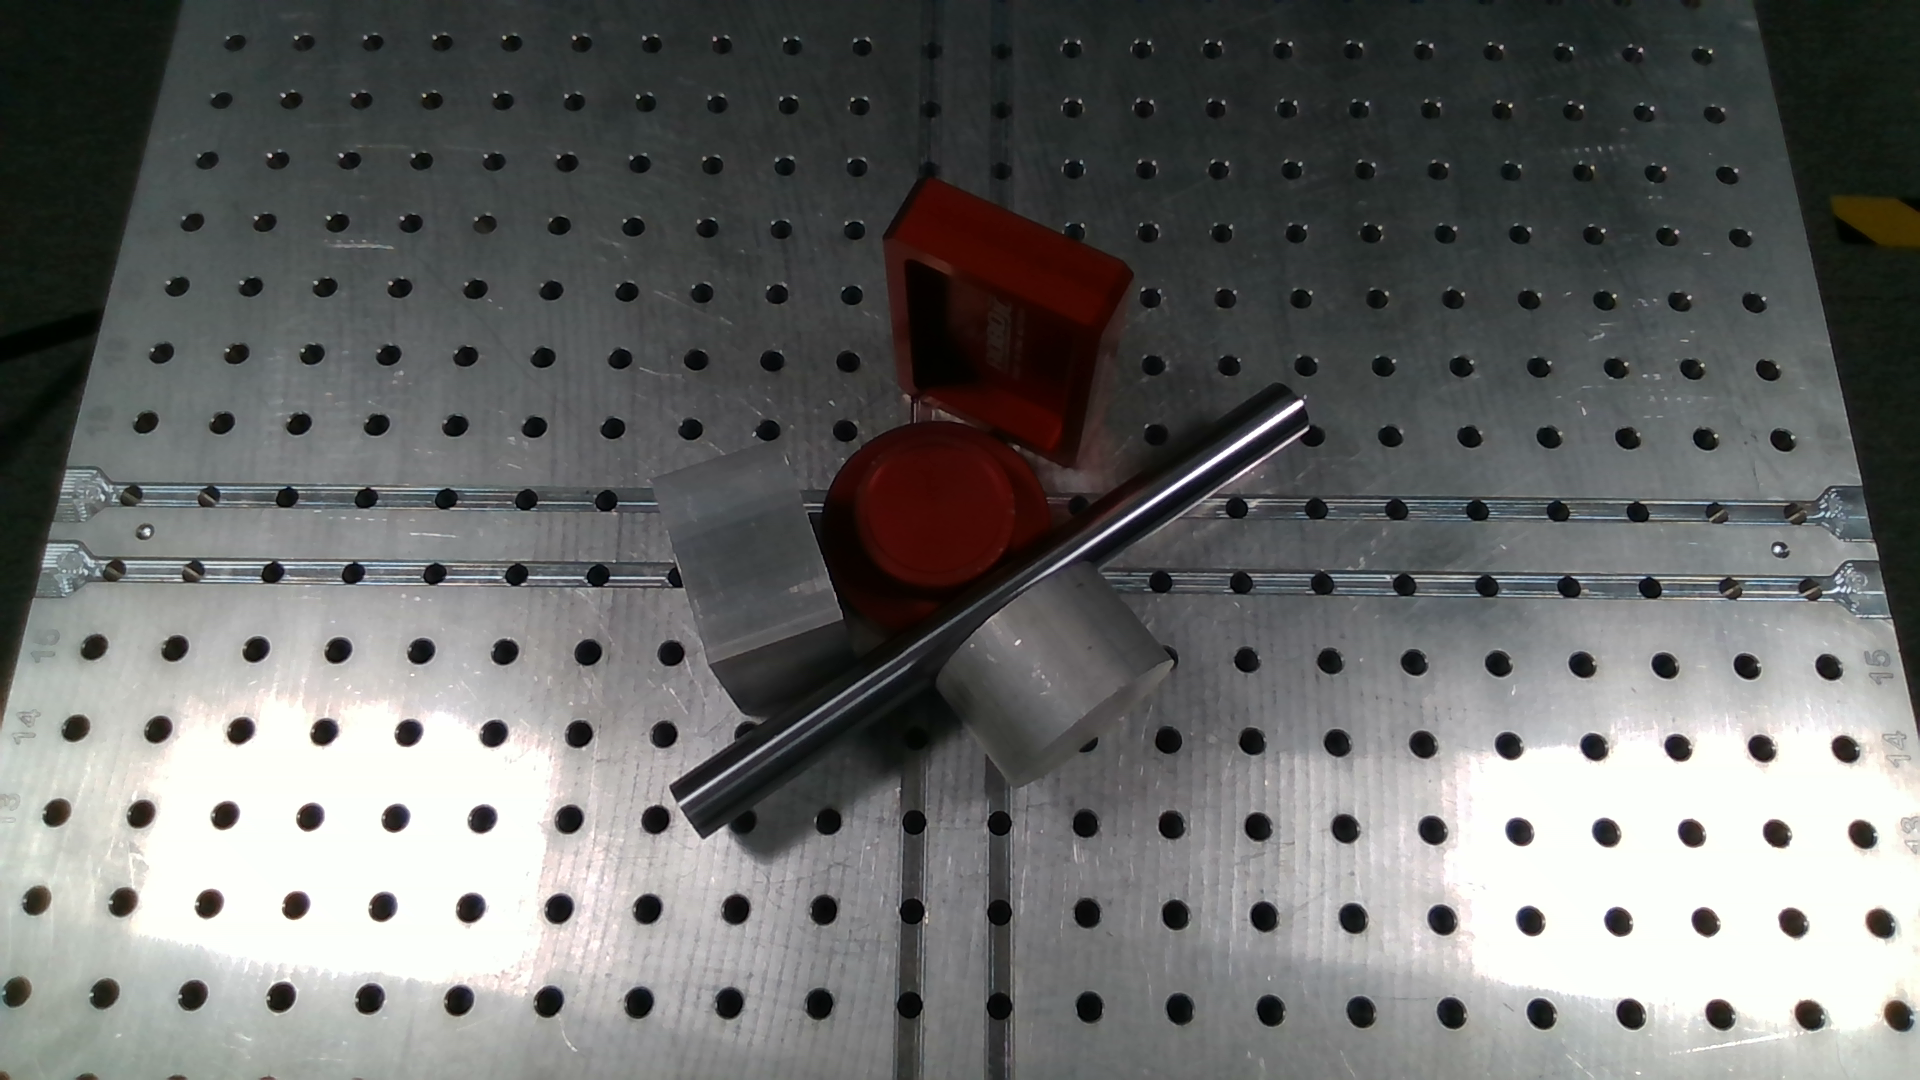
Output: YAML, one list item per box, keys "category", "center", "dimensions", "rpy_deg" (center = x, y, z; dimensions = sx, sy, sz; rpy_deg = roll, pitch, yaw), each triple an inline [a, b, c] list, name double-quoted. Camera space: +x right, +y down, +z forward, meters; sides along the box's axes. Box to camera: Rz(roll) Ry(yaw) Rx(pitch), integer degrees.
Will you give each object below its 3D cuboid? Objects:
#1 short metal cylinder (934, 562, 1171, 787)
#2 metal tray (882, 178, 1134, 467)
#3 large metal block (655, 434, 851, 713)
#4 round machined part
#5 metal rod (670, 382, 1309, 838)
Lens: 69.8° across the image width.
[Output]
- category: "short metal cylinder"
  center: [0.037, 0.054, 0.541]
  dimensions: [0.080, 0.080, 0.050]
  rpy_deg: [-35, 74, -12]
- category: "metal tray"
  center: [0.018, -0.084, 0.565]
  dimensions: [0.090, 0.130, 0.030]
  rpy_deg: [26, 72, 9]
- category: "large metal block"
  center: [-0.080, 0.016, 0.556]
  dimensions: [0.050, 0.080, 0.080]
  rpy_deg: [-18, 71, -6]
- category: "round machined part"
  center: [-0.011, -0.007, 0.584]
  dimensions: [0.098, 0.042, 0.098]
  rpy_deg: [0, 70, 0]
- category: "metal rod"
  center: [0.018, 0.024, 0.559]
  dimensions: [0.300, 0.025, 0.025]
  rpy_deg: [-33, 74, -11]
